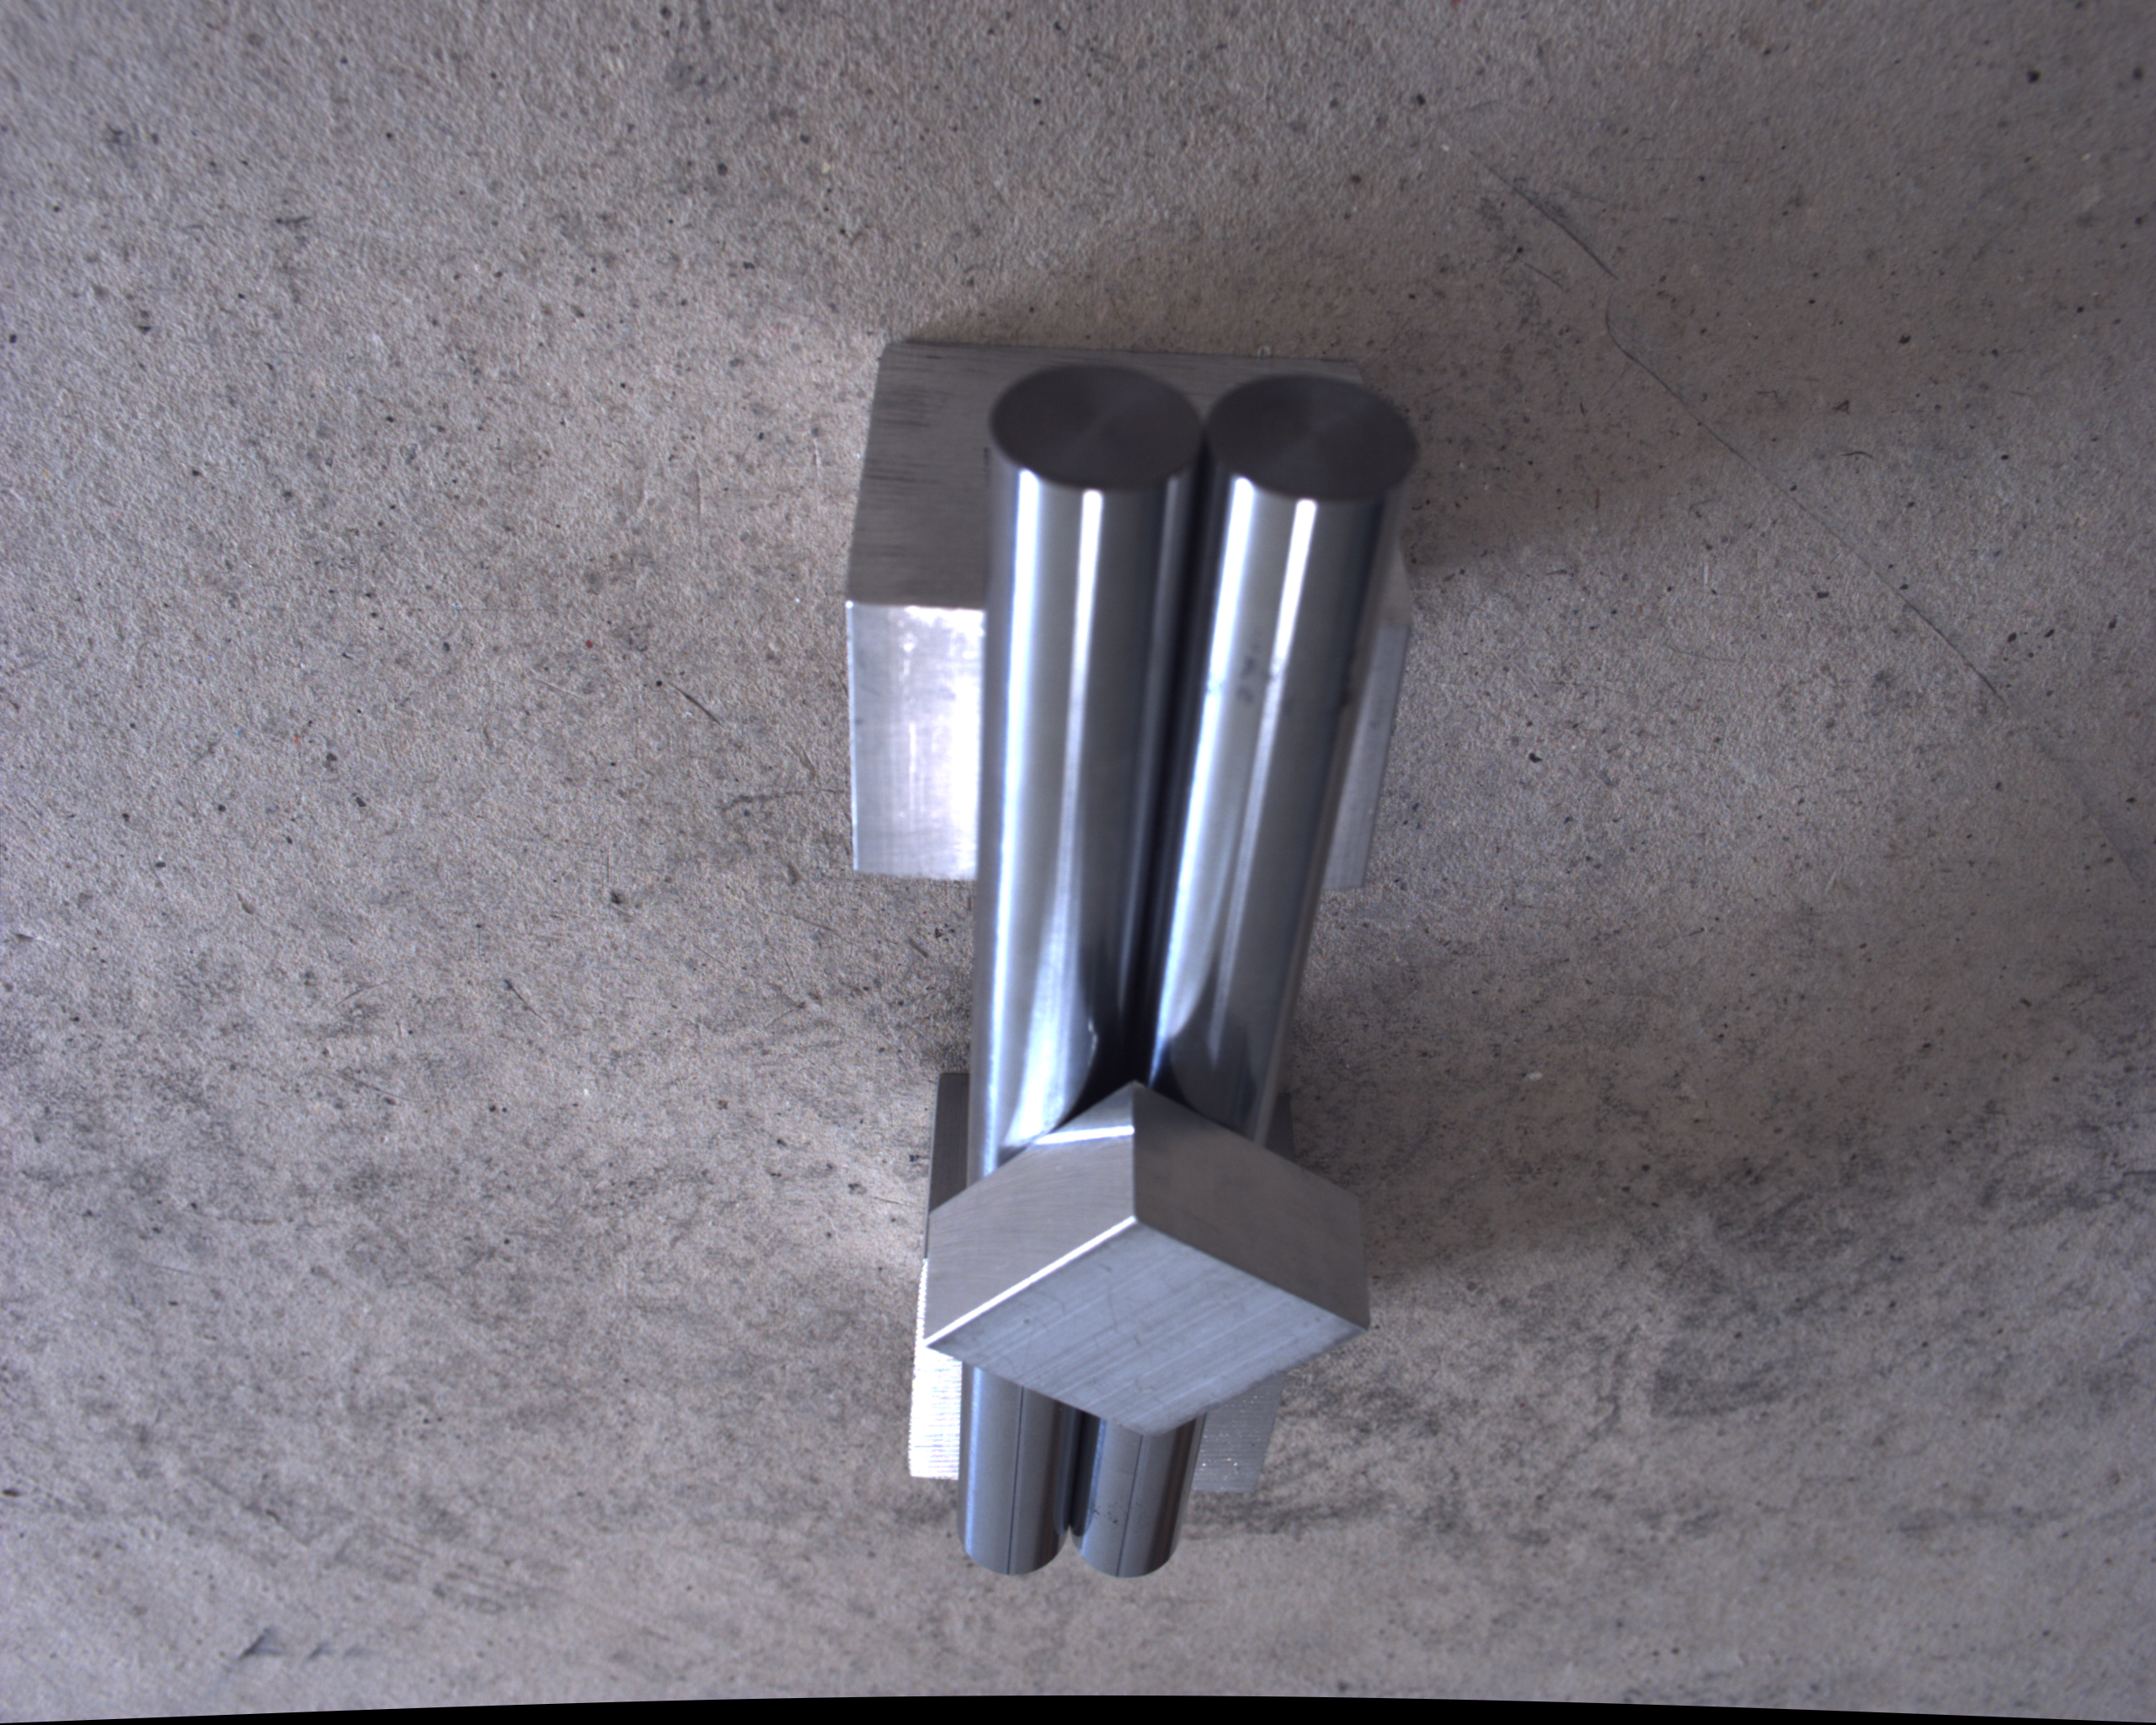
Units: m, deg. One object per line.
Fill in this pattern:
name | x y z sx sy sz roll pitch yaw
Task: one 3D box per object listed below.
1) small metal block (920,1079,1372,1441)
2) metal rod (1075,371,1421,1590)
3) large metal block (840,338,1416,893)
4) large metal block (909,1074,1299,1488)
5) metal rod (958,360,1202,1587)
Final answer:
small metal block | 0.010 0.066 0.336 0.050 0.025 0.050 30 130 -30
metal rod | 0.020 0.050 0.356 0.025 0.025 0.298 2 137 -2
large metal block | 0.006 -0.042 0.338 0.081 0.080 0.050 3 130 -3
large metal block | 0.005 0.096 0.473 0.081 0.050 0.079 4 130 -4
metal rod | -0.006 0.049 0.354 0.025 0.025 0.298 2 137 -2
